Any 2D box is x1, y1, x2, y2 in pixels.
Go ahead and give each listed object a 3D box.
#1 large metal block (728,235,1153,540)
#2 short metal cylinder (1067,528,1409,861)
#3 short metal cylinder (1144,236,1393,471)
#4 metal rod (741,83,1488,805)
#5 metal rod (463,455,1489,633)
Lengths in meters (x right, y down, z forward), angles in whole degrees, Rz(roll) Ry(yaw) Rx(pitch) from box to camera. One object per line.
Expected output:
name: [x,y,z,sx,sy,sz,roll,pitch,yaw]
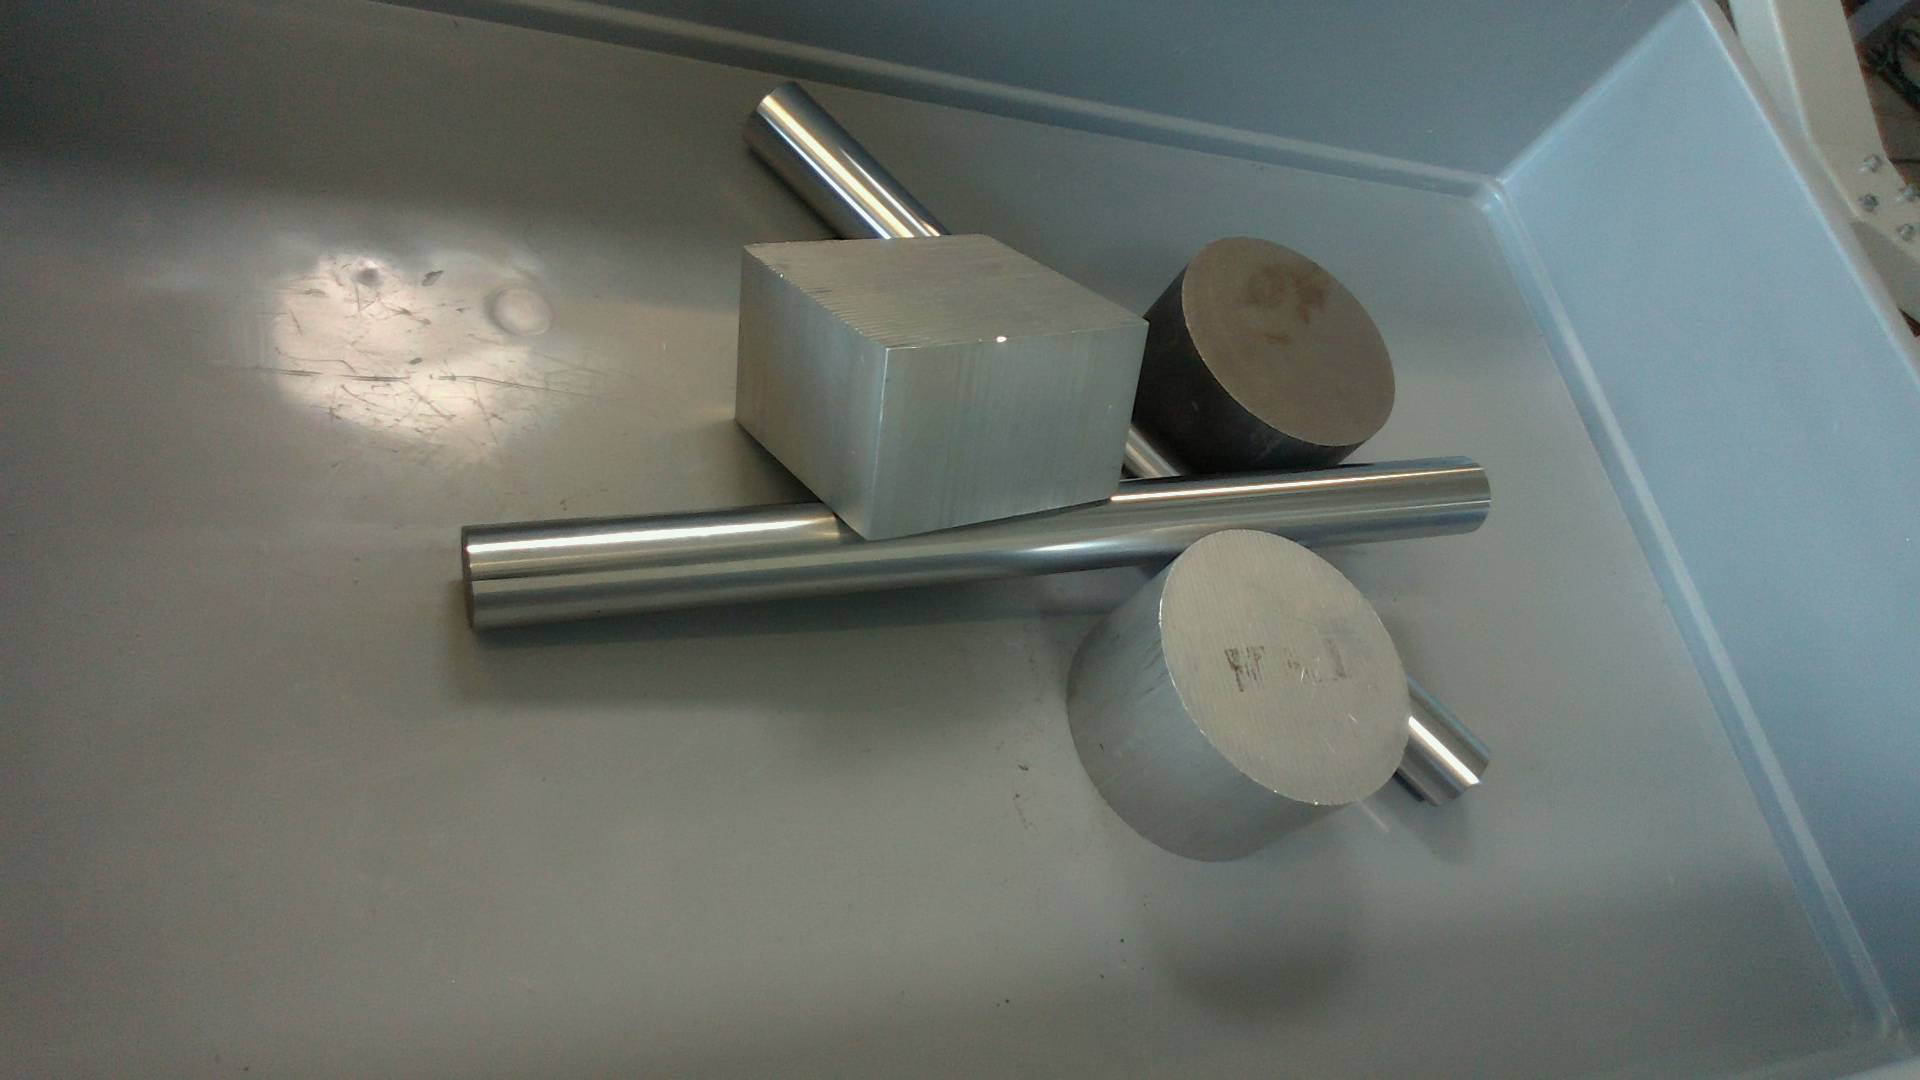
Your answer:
large metal block: [-0.008,-0.046,0.373,0.080,0.050,0.080,-11,32,-32]
short metal cylinder: [0.077,0.044,0.387,0.080,0.050,0.080,14,56,-21]
short metal cylinder: [0.094,-0.053,0.456,0.080,0.050,0.080,14,56,-21]
metal rod: [0.047,-0.031,0.433,0.300,0.025,0.025,44,51,2]
metal rod: [0.023,-0.003,0.381,0.301,0.025,0.025,-5,64,-24]
